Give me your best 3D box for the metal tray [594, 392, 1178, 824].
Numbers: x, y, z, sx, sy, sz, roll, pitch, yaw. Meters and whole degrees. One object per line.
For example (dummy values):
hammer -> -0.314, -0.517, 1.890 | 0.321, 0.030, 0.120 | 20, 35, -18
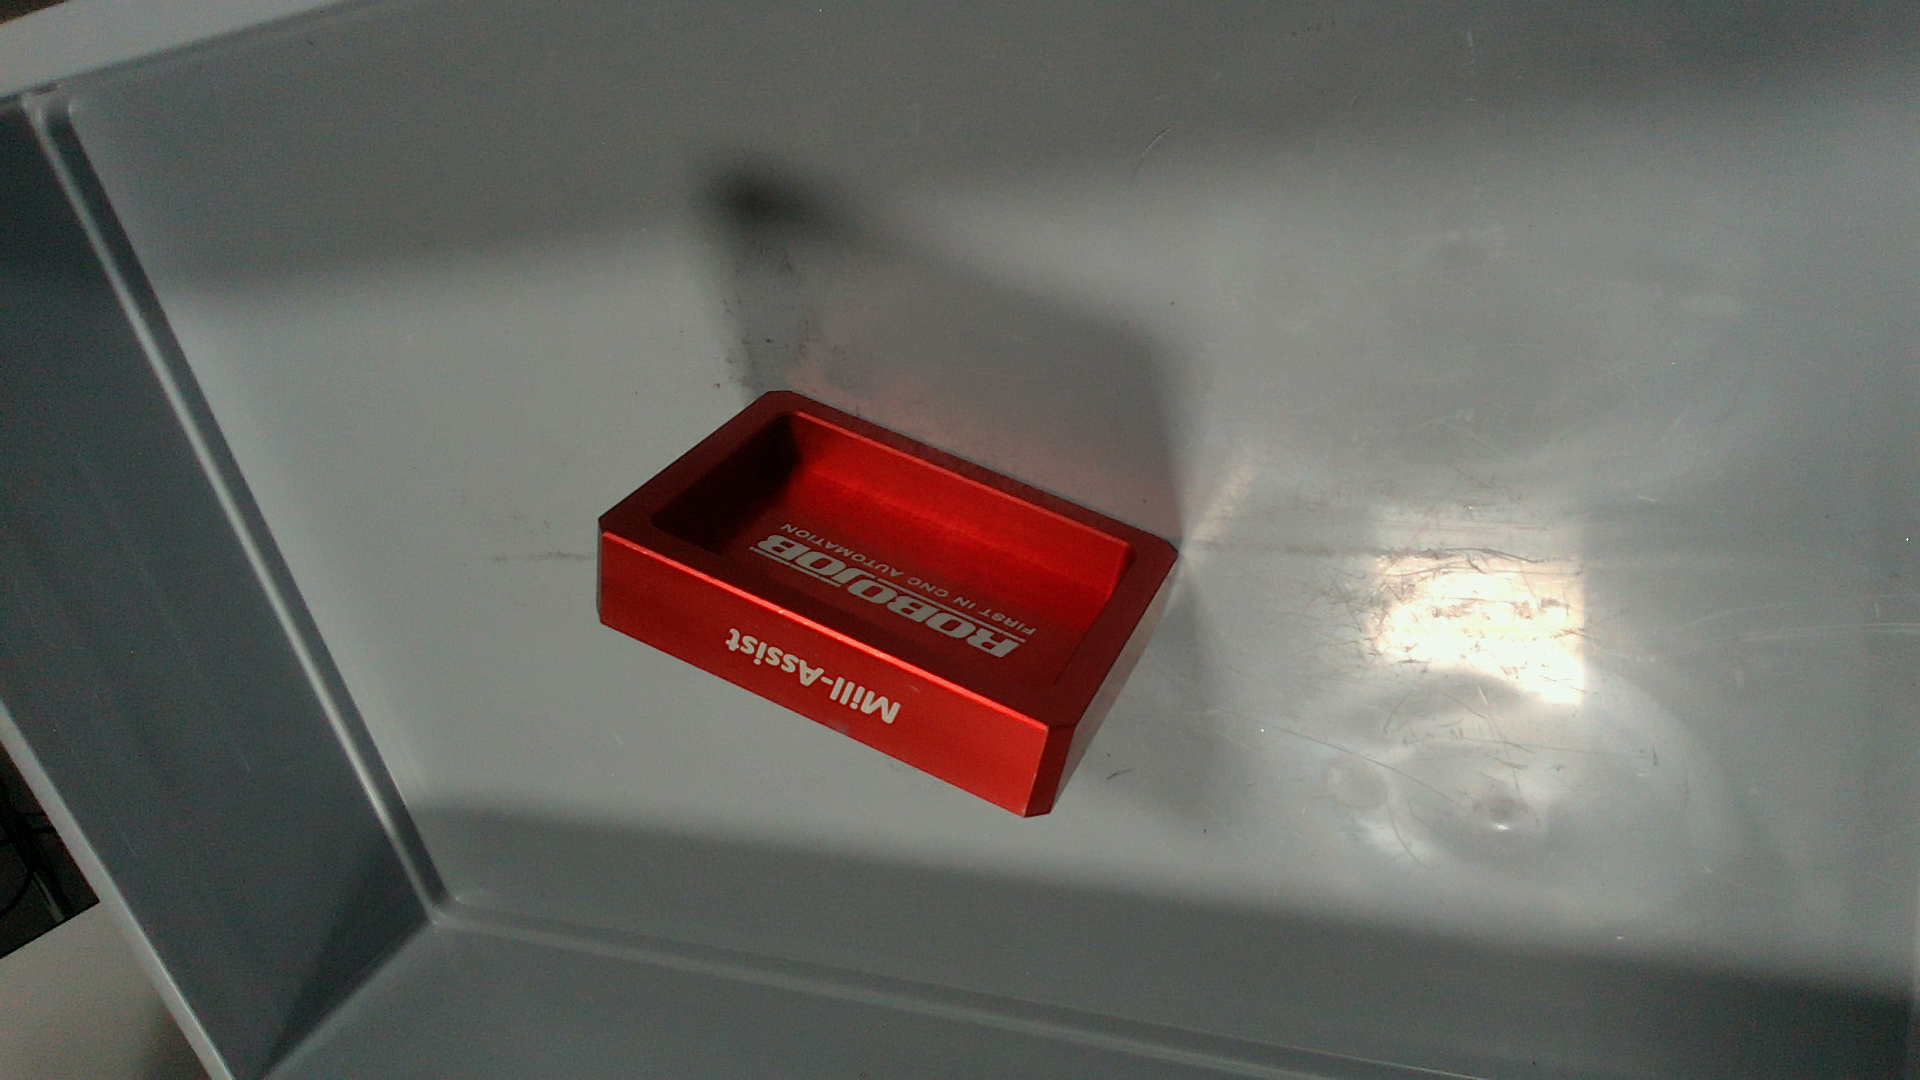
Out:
metal tray -> -0.018, 0.012, 0.364 | 0.130, 0.090, 0.030 | 22, 127, 14
